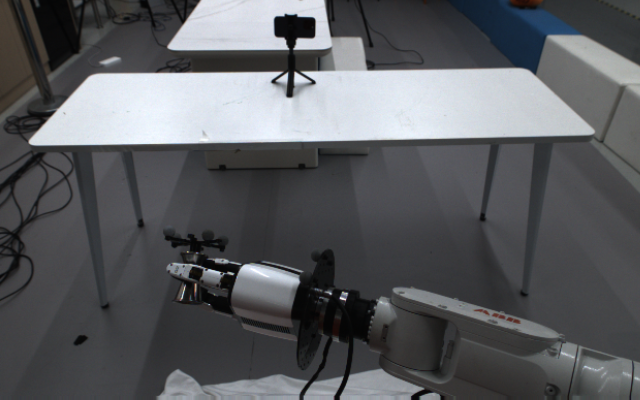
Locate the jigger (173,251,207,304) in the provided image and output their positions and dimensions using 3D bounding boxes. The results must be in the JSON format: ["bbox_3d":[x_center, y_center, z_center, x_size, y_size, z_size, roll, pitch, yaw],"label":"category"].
[{"bbox_3d":[-0.181,0.109,0.677,0.043,0.043,0.071,3,72,1],"label":"jigger"}]
